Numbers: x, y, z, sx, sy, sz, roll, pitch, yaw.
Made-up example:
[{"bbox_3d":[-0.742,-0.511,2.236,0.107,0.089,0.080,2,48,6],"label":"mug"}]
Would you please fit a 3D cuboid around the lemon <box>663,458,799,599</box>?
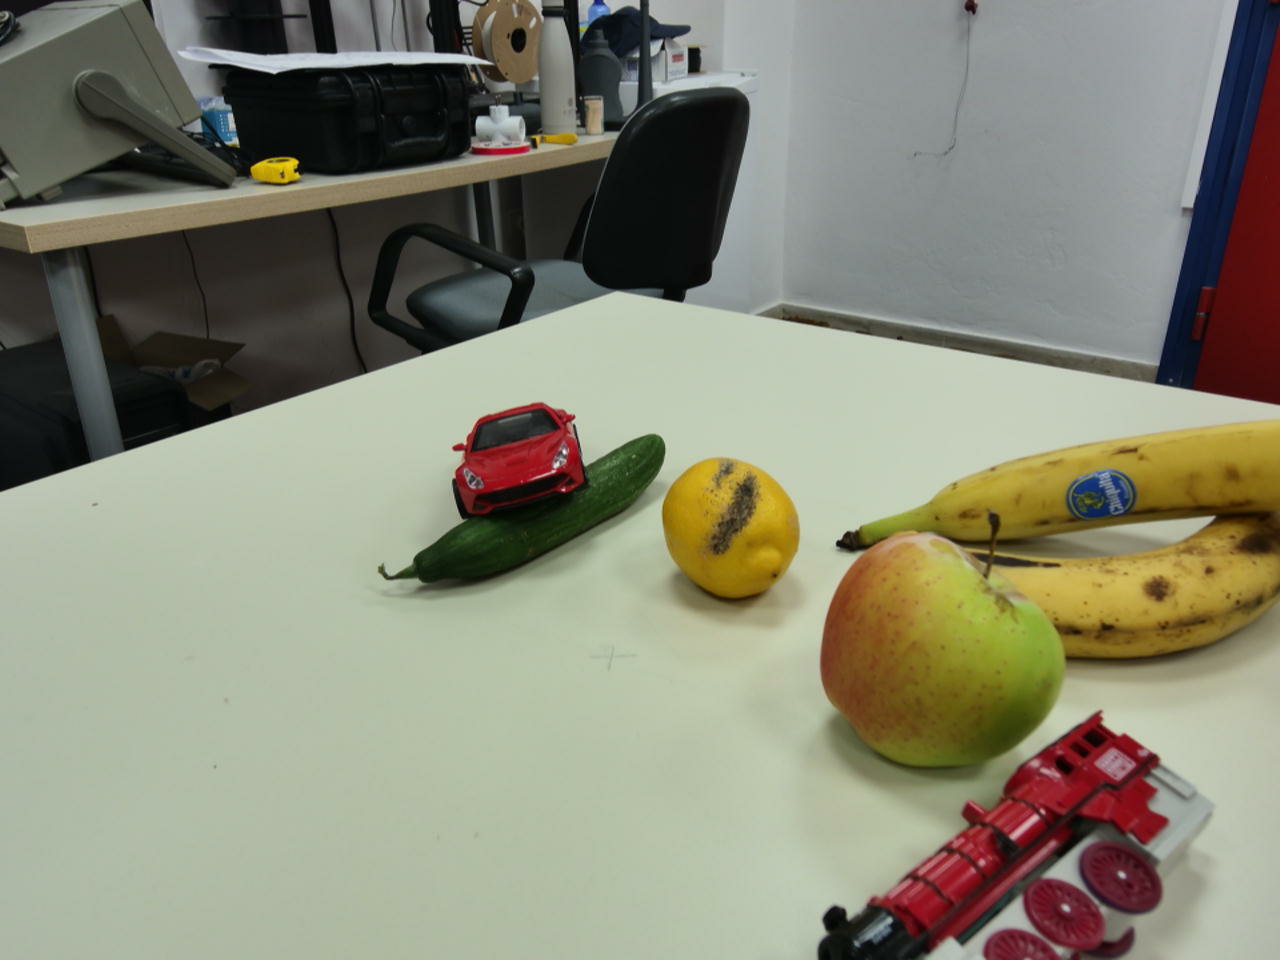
[{"bbox_3d":[0.039,0.021,0.428,0.061,0.056,0.058,13,26,28],"label":"lemon"}]
